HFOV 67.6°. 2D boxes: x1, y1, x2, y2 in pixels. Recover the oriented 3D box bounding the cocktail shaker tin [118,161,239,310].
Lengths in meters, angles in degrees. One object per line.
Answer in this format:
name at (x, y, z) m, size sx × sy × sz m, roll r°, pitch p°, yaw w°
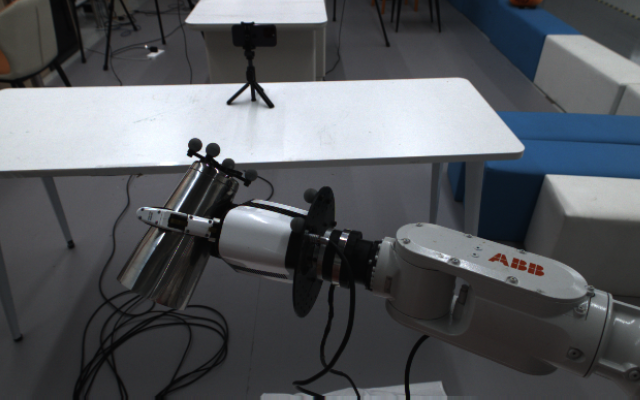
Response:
cocktail shaker tin at (-0.168, 0.038, 0.609) m, size 0.093 × 0.093 × 0.170 m, roll 21°, pitch 81°, yaw 26°
